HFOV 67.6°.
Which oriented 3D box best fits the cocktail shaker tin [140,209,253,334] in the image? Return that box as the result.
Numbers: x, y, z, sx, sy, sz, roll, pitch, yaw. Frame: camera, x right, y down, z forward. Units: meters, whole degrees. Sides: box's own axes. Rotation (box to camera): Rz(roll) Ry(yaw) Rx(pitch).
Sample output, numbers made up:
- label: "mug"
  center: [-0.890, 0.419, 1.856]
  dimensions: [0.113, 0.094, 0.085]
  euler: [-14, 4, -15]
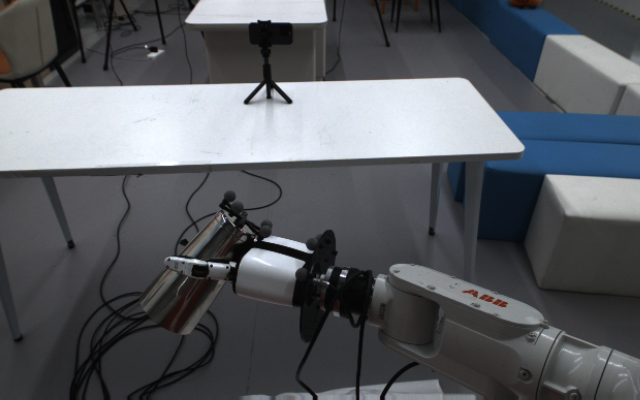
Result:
- label: "cocktail shaker tin"
  center: [-0.170, 0.096, 0.704]
  dimensions: [0.170, 0.093, 0.093]
  euler: [-50, 46, 4]
